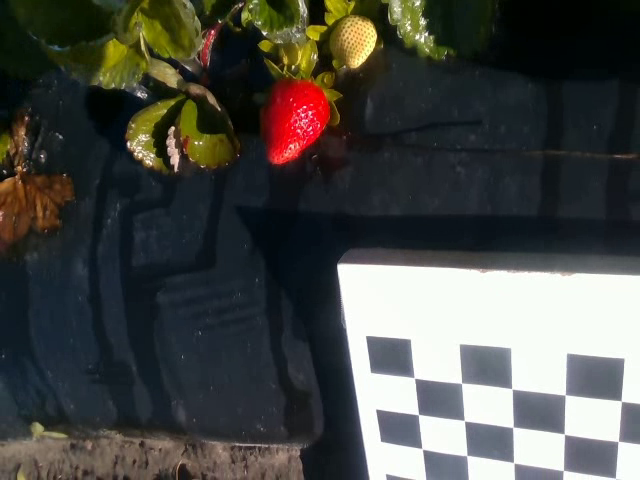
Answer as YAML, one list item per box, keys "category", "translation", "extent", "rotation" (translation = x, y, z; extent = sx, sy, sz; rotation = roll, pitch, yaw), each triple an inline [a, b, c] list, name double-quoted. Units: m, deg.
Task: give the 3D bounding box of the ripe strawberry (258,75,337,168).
- category: "ripe strawberry"
  translation: [-0.011, -0.044, 0.246]
  extent: [0.039, 0.039, 0.040]
  rotation: [-3, -40, 35]
